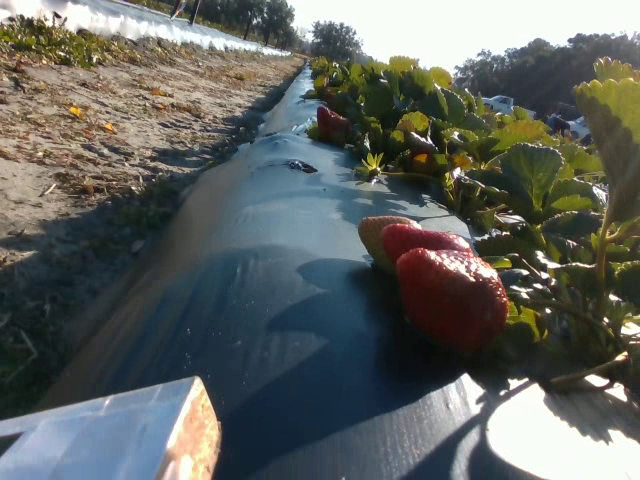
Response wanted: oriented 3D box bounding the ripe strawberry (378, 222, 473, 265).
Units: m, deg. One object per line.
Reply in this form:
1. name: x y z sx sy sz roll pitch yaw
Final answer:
1. ripe strawberry: 0.055 0.008 0.323 0.061 0.044 0.051 34 36 7

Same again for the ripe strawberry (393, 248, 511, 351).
1. ripe strawberry: 0.054 0.020 0.270 0.056 0.052 0.067 0 -29 44
